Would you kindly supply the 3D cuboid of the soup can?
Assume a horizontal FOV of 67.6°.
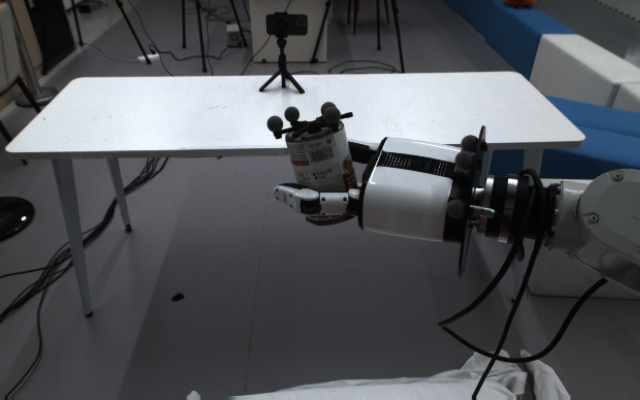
[{"bbox_3d":[0.008,-0.031,0.540,0.067,0.101,0.067,-13,20,5],"label":"soup can"}]
